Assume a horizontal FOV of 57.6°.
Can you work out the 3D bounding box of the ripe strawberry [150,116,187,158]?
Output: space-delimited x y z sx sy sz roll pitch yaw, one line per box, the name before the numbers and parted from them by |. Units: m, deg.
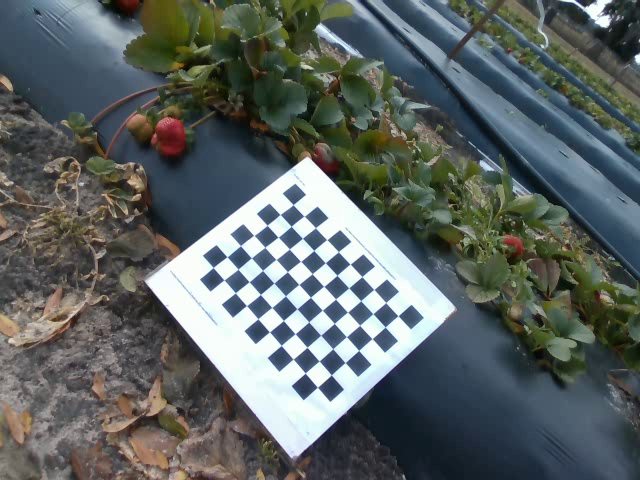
ripe strawberry | -0.236 -0.168 0.889 0.066 0.075 0.053 29 -18 7
